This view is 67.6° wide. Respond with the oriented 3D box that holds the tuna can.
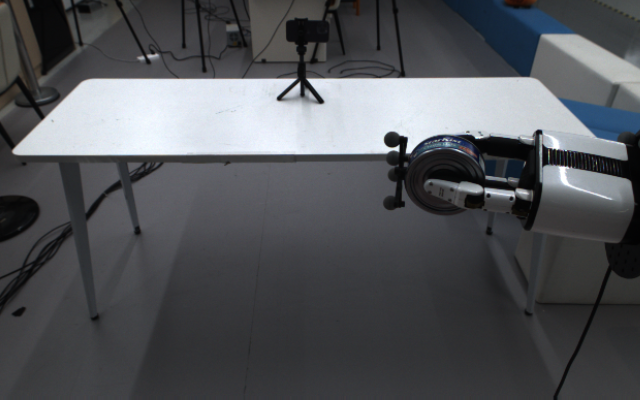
[{"bbox_3d":[0.138,-0.031,0.533,0.085,0.085,0.034,9,32,10],"label":"tuna can"}]
